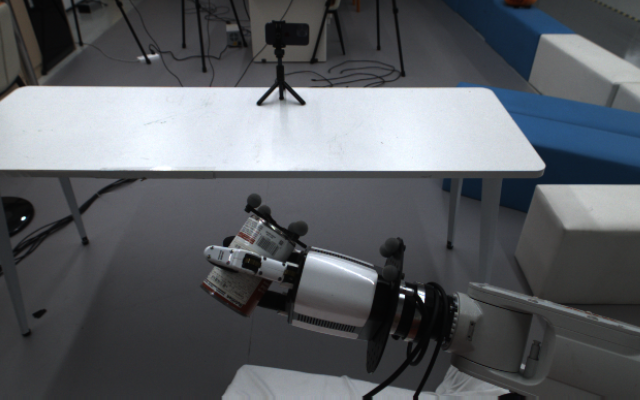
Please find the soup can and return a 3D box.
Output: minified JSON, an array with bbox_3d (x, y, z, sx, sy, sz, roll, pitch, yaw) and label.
[{"bbox_3d":[-0.082,0.076,0.568,0.067,0.067,0.101,27,76,31],"label":"soup can"}]
